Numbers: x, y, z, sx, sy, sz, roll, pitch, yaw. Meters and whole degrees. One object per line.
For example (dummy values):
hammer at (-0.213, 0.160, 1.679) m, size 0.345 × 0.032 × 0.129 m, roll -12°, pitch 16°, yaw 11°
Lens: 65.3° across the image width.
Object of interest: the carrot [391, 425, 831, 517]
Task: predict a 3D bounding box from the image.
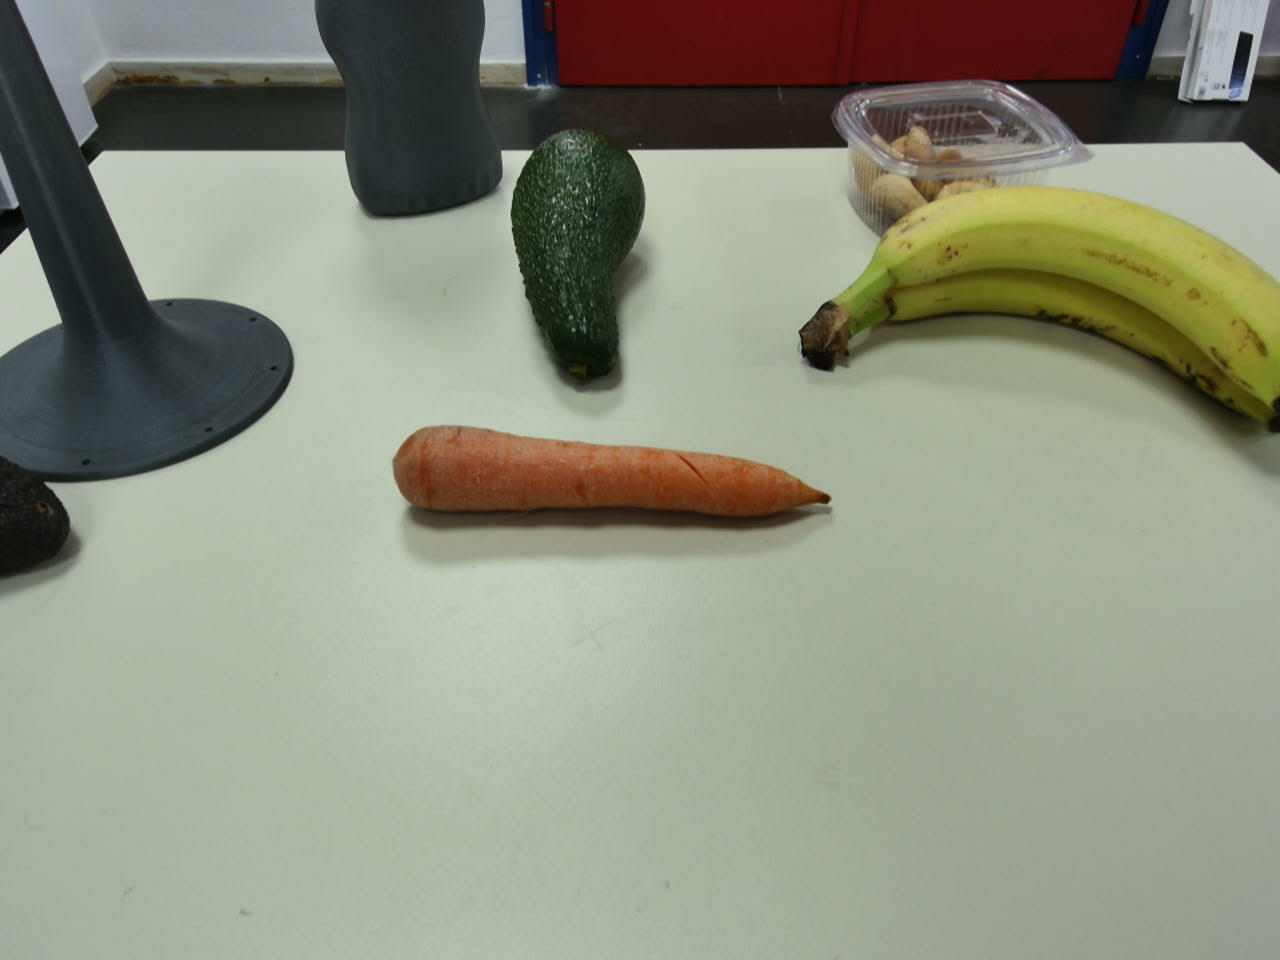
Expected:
carrot at (-0.012, -0.004, 0.447) m, size 0.196 × 0.041 × 0.039 m, roll 0°, pitch 38°, yaw 0°
